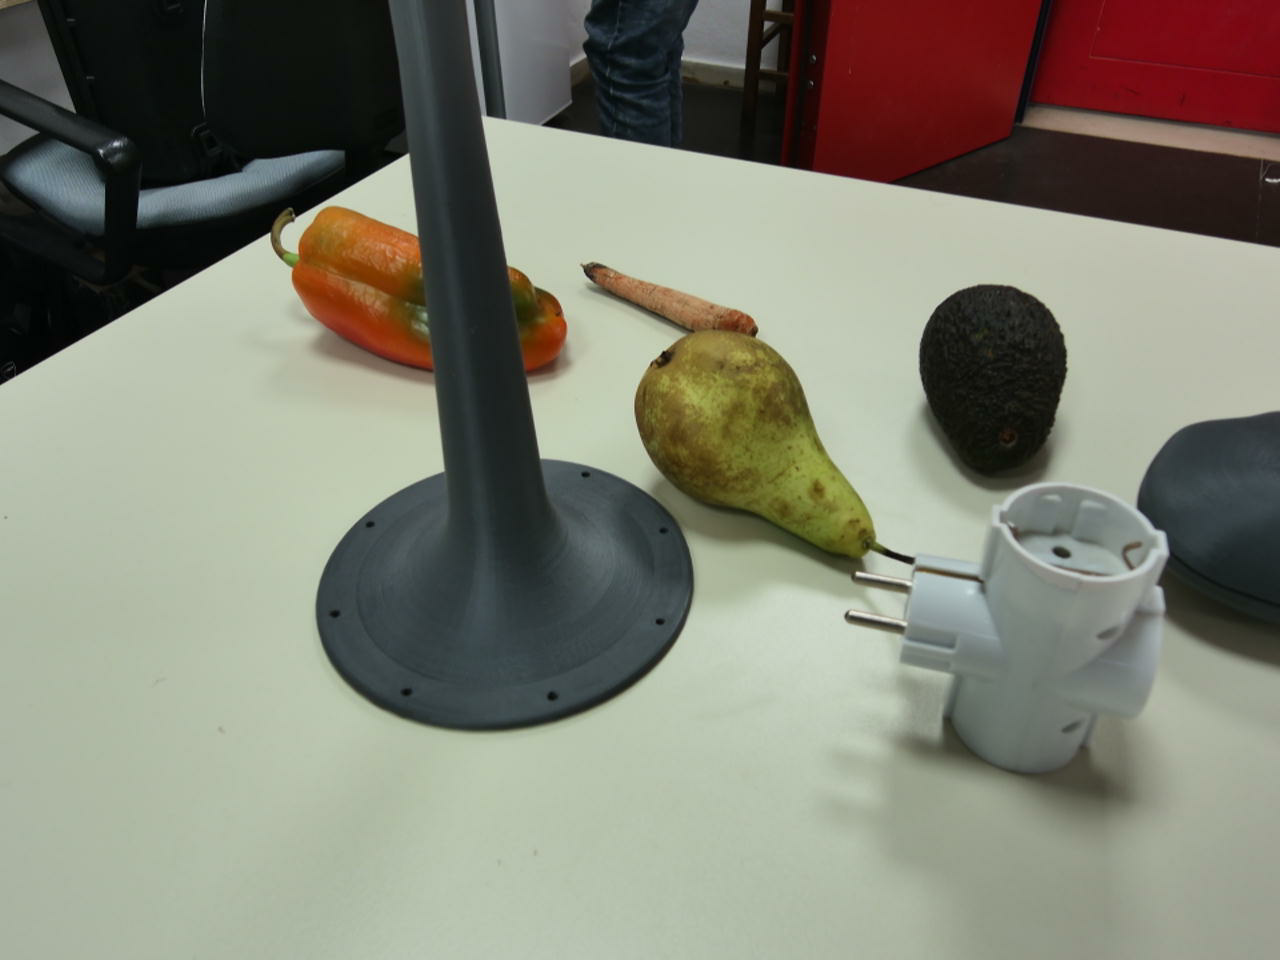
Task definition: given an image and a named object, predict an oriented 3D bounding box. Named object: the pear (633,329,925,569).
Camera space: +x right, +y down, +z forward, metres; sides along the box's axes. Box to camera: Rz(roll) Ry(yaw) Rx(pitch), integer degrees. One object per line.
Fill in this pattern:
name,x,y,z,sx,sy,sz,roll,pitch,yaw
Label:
pear,0.063,-0.016,0.417,0.144,0.075,0.071,22,43,27
